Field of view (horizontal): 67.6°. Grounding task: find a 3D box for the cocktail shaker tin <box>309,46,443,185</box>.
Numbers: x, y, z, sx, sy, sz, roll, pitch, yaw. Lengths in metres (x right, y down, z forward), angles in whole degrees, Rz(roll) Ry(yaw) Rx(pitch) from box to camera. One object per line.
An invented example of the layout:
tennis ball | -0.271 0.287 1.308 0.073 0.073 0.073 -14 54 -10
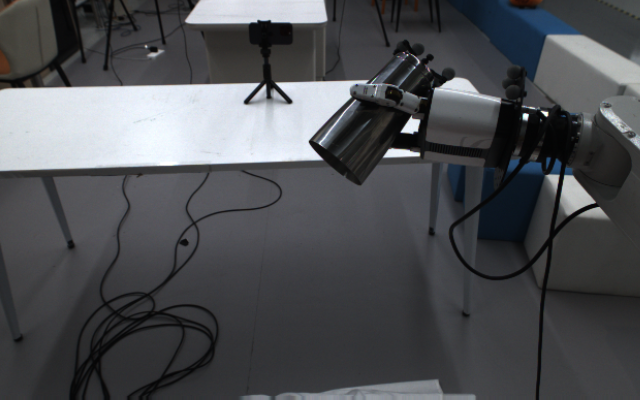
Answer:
cocktail shaker tin | 0.075 -0.117 0.651 0.170 0.093 0.093 -48 49 -4
